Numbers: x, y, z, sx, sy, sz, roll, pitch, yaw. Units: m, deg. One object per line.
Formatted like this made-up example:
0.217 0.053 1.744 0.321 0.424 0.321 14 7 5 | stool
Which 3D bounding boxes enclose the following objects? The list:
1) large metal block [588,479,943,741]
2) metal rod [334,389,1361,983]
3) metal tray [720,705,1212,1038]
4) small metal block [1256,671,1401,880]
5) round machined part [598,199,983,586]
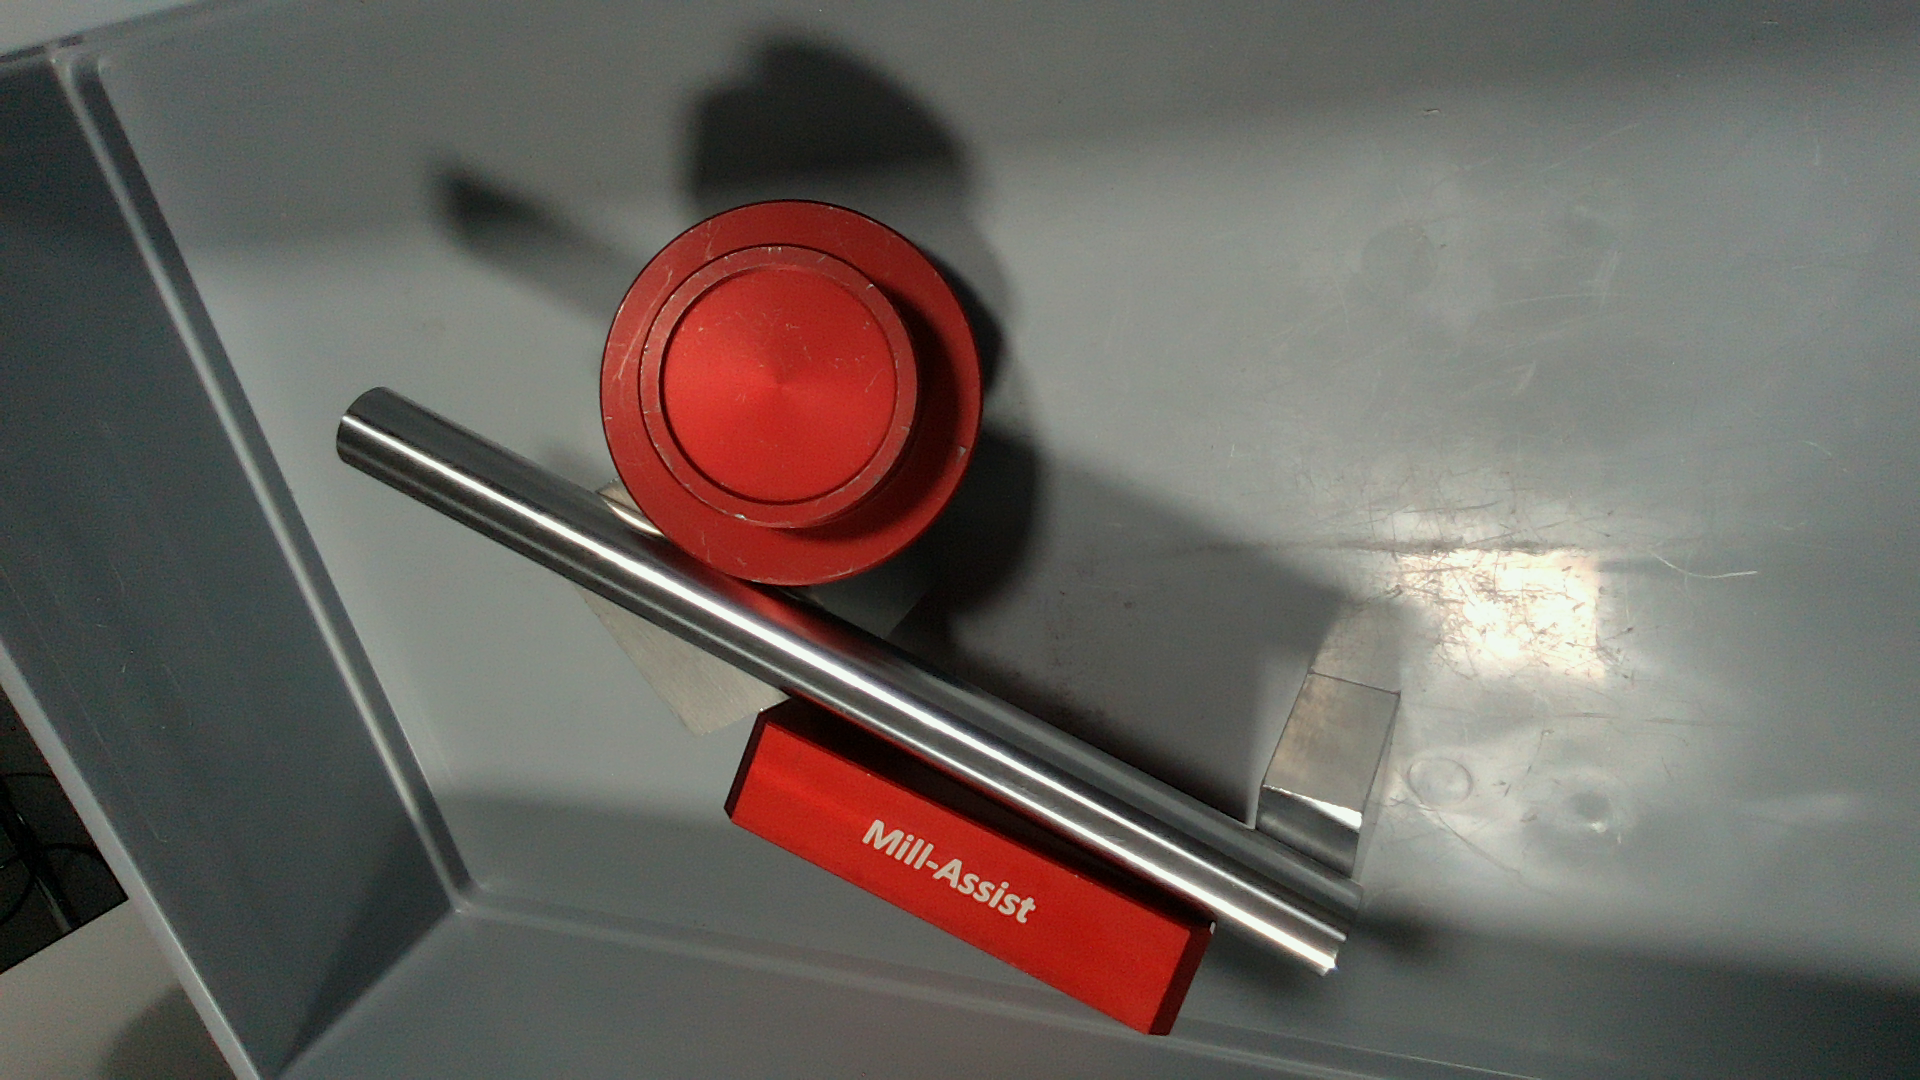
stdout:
-0.067 0.005 0.414 0.080 0.050 0.080 -25 105 37 | large metal block
-0.039 0.032 0.366 0.300 0.025 0.025 26 128 12 | metal rod
0.010 0.082 0.391 0.130 0.090 0.030 24 100 13 | metal tray
0.097 0.072 0.368 0.025 0.050 0.050 13 124 21 | small metal block
-0.043 -0.037 0.347 0.098 0.042 0.098 0 91 0 | round machined part
